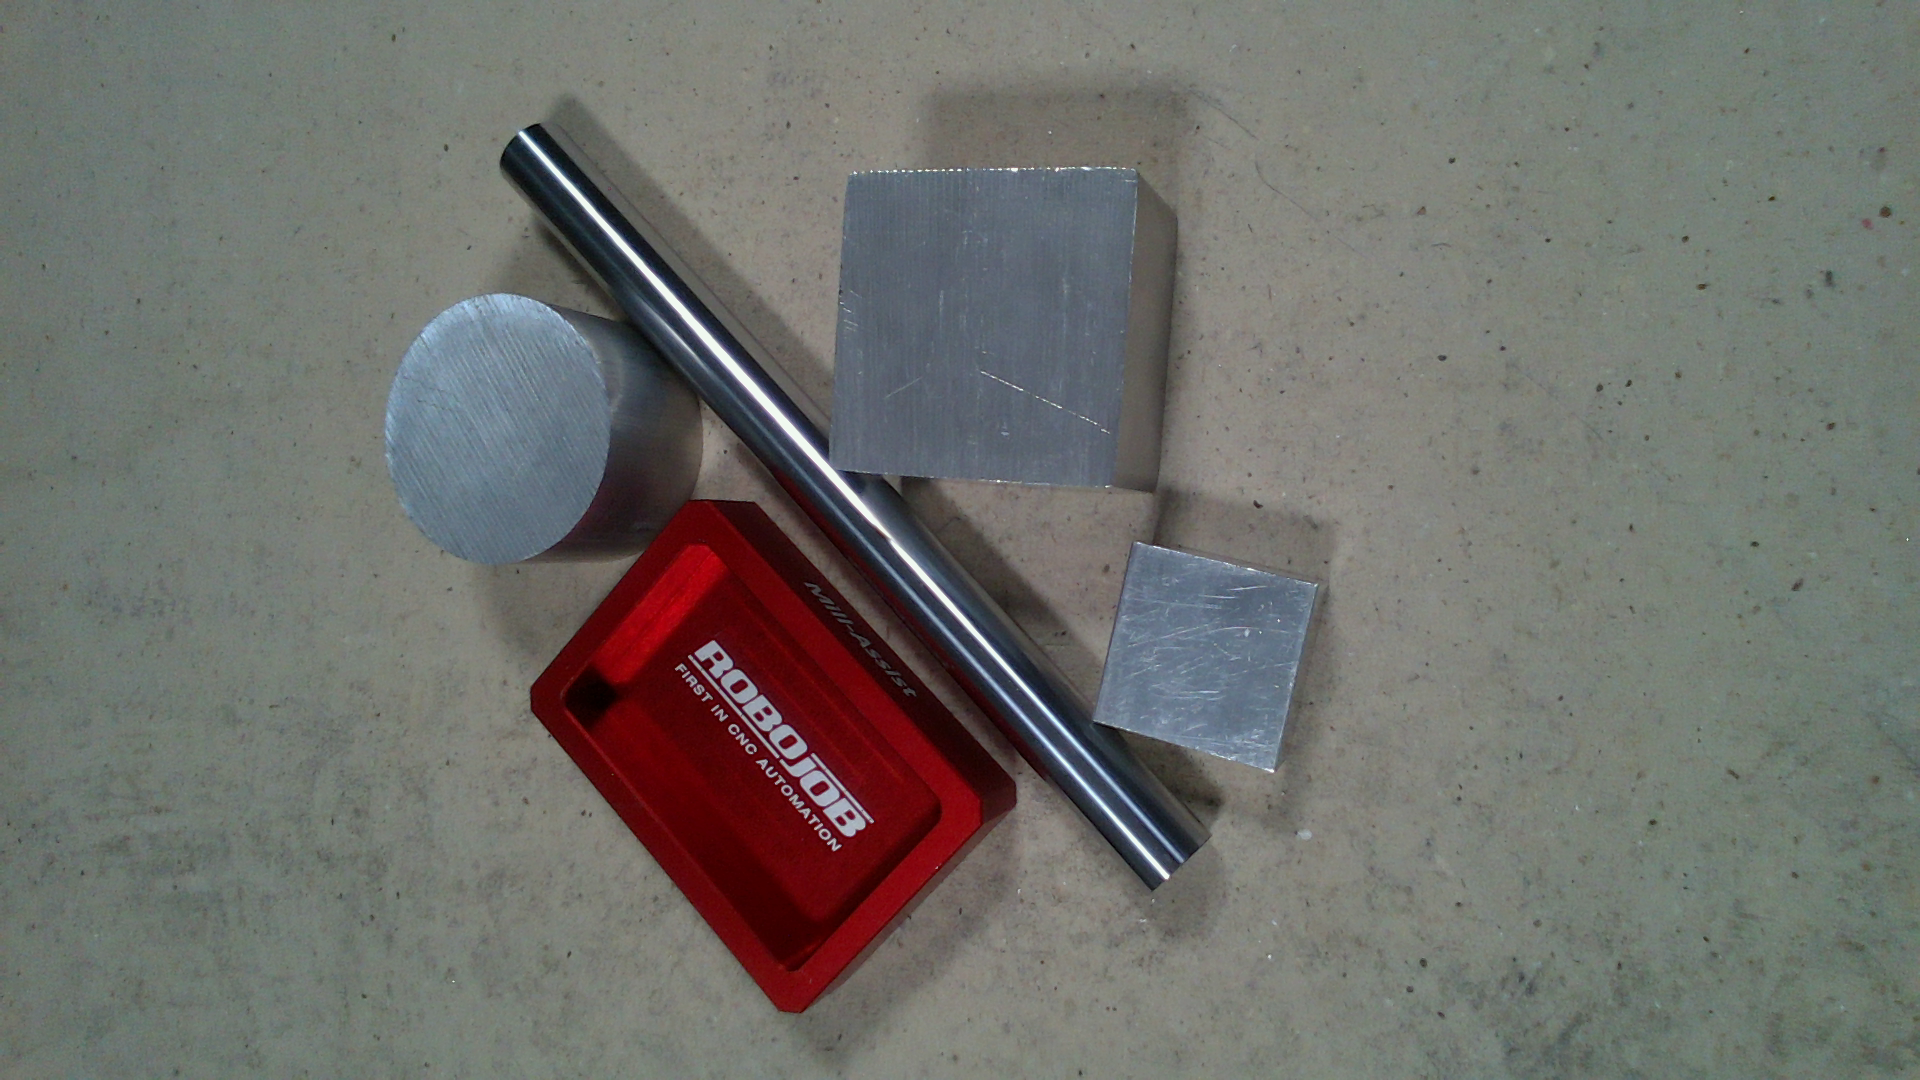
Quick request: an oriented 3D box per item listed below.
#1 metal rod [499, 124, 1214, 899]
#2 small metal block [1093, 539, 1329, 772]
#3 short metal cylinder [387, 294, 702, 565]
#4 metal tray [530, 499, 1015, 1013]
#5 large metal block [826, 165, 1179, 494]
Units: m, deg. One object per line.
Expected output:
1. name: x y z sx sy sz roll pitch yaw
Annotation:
1. metal rod: -0.039 -0.018 0.410 0.025 0.025 0.300 -46 76 14
2. small metal block: 0.068 0.030 0.372 0.050 0.025 0.050 14 95 19
3. short metal cylinder: -0.129 -0.033 0.429 0.080 0.050 0.080 0 90 20
4. metal tray: -0.059 0.062 0.415 0.130 0.030 0.090 46 104 14
5. large metal block: 0.013 -0.056 0.378 0.080 0.050 0.080 5 92 20
